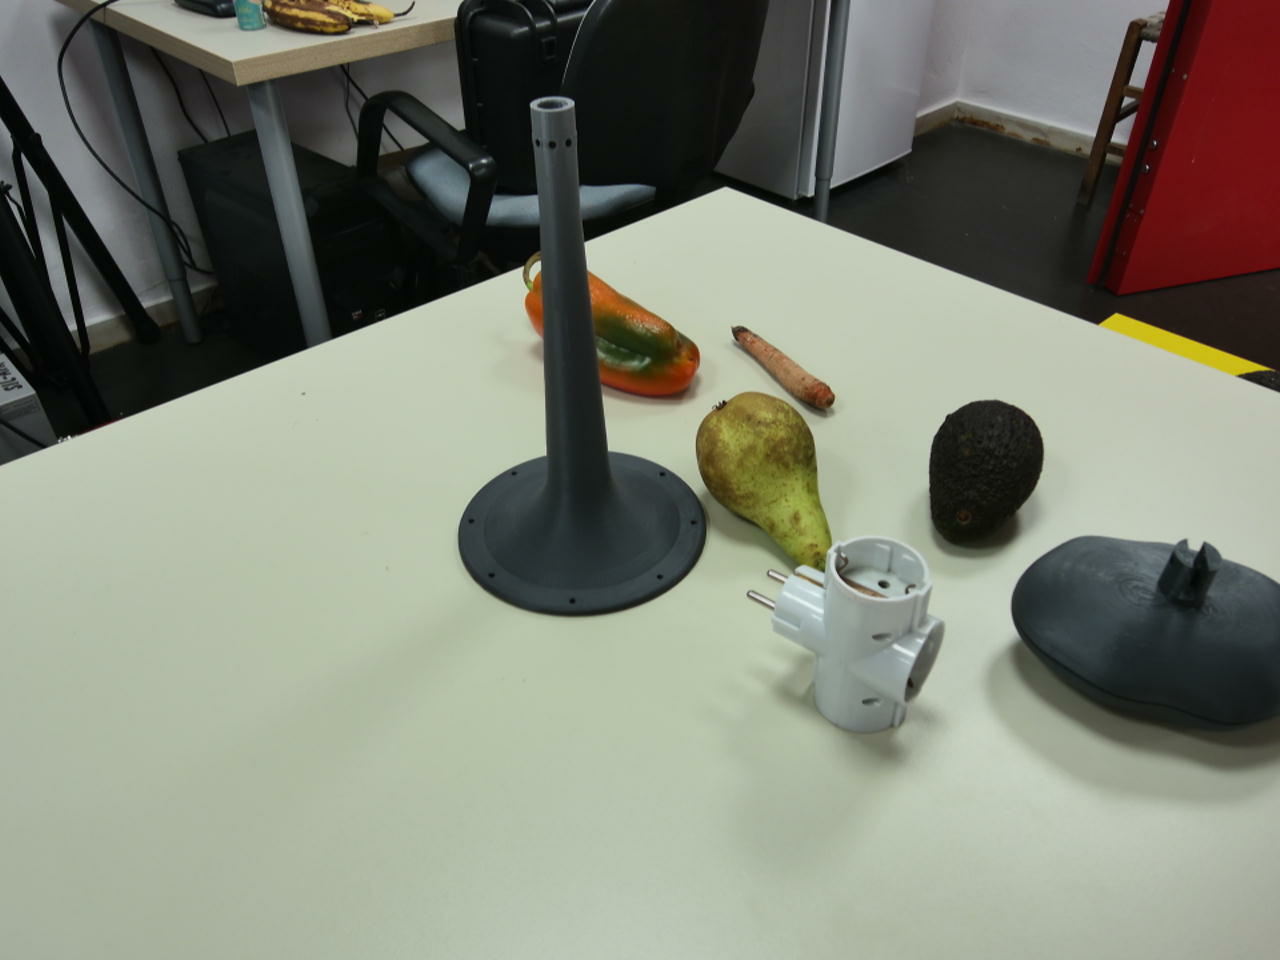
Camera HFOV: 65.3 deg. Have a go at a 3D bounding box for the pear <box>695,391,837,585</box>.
[{"bbox_3d":[0.089,0.001,0.582,0.071,0.075,0.144,-23,42,-27],"label":"pear"}]
